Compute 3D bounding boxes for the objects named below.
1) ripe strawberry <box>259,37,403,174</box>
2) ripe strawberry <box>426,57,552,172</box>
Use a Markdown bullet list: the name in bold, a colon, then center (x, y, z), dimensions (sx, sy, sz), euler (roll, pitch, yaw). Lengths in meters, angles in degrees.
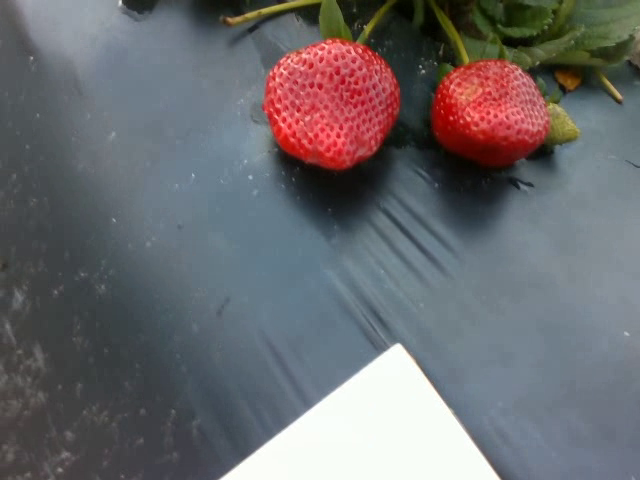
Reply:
- **ripe strawberry**: center (0.003, -0.050, 0.236), dimensions (0.058, 0.065, 0.044), euler (-14, -41, 21)
- **ripe strawberry**: center (0.069, -0.051, 0.240), dimensions (0.050, 0.051, 0.060), euler (-19, 16, 19)
